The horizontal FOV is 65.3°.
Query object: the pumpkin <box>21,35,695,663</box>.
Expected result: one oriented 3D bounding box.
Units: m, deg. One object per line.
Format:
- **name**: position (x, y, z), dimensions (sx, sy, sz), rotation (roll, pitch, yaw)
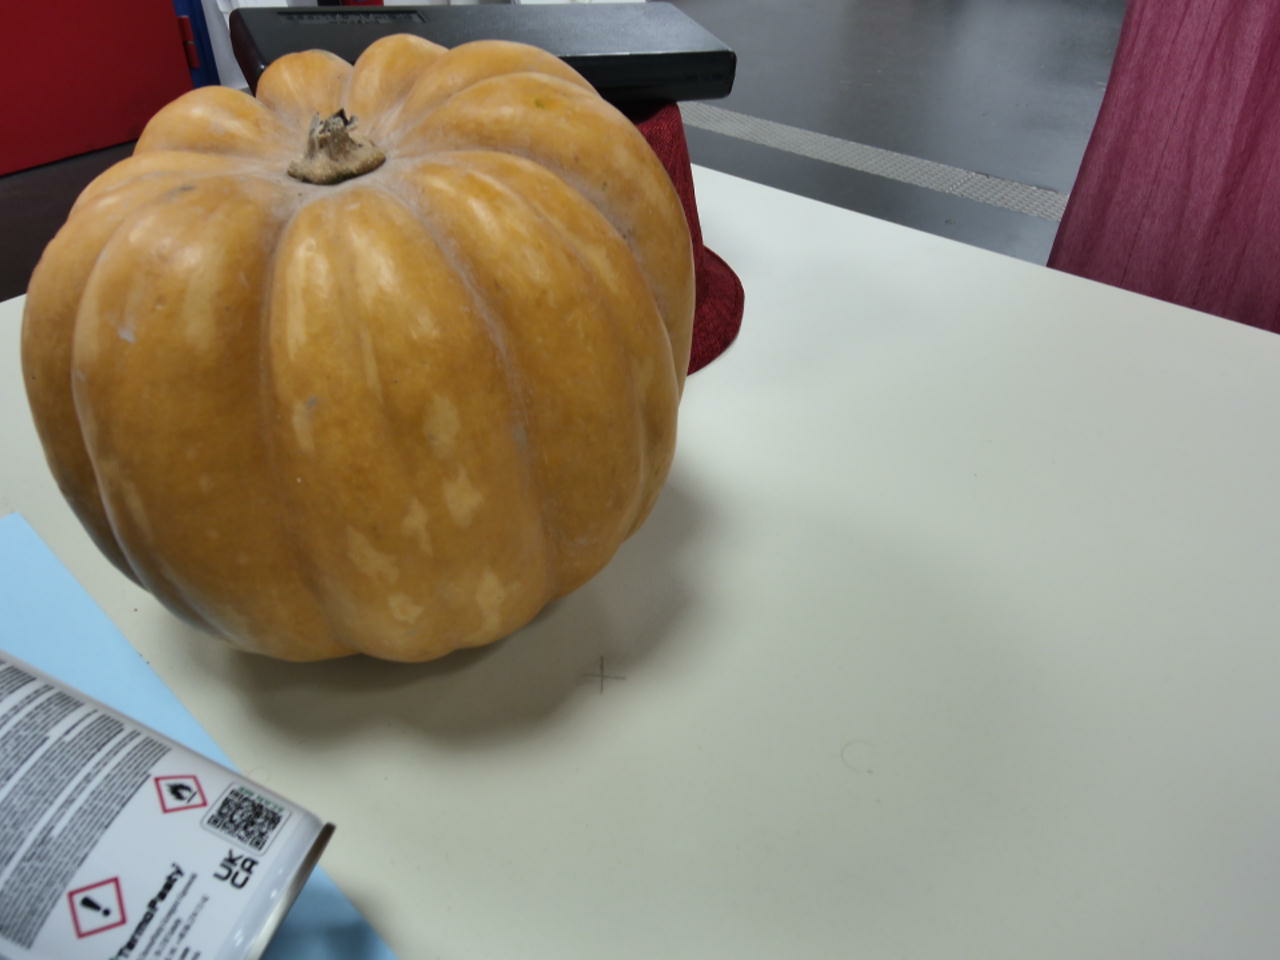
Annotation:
- **pumpkin**: position (-0.089, -0.045, 0.360), dimensions (0.230, 0.194, 0.230), rotation (0, 37, 0)
